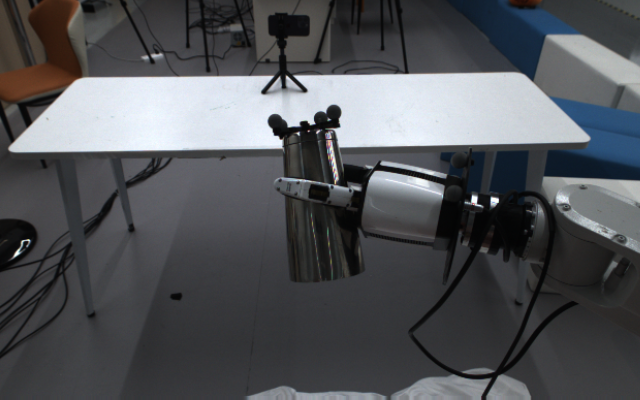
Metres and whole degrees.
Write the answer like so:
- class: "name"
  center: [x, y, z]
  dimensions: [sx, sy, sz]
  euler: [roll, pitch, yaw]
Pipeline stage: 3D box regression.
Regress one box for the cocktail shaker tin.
- class: "cocktail shaker tin"
  center: [-0.001, 0.006, 0.583]
  dimensions: [0.093, 0.170, 0.093]
  euler: [-8, 1, 0]
